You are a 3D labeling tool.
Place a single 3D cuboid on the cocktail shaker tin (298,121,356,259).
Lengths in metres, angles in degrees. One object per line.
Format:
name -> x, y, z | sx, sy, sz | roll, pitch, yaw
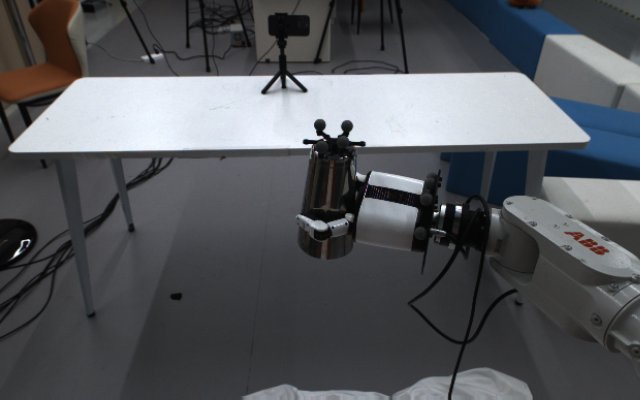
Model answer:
cocktail shaker tin -> 0.016, -0.005, 0.737 | 0.093, 0.170, 0.093 | 3, 34, -2
